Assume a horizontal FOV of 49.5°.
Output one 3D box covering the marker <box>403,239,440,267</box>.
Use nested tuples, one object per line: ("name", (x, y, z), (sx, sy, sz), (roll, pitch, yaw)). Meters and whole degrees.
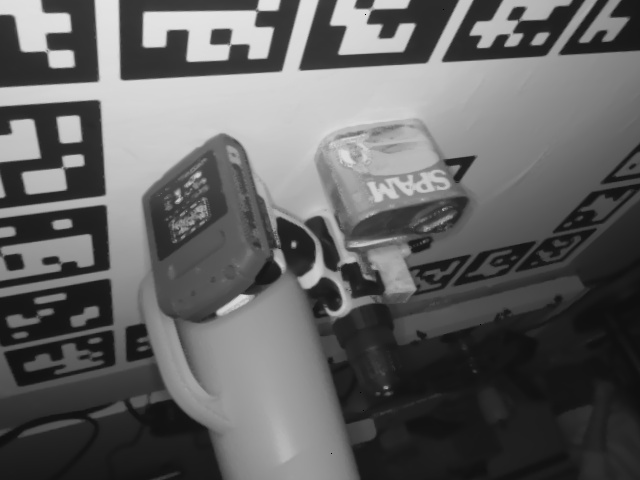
("marker", (0.078, 0.030, 0.768), (0.121, 0.019, 0.019), (-25, 149, 3))

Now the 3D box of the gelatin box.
("gelatin box", (0.044, 0.027, 0.695), (0.090, 0.073, 0.030), (-2, 140, -27))

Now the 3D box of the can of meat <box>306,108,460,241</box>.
("can of meat", (0.047, -0.054, 0.552), (0.103, 0.084, 0.057), (-10, 149, -18))

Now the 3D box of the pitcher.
("pitcher", (-0.068, 0.117, 0.610), (0.191, 0.242, 0.131), (7, 136, -49))

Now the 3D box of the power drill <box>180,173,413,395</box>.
("power drill", (-0.013, 0.031, 0.556), (0.189, 0.185, 0.056), (21, 127, -42))
